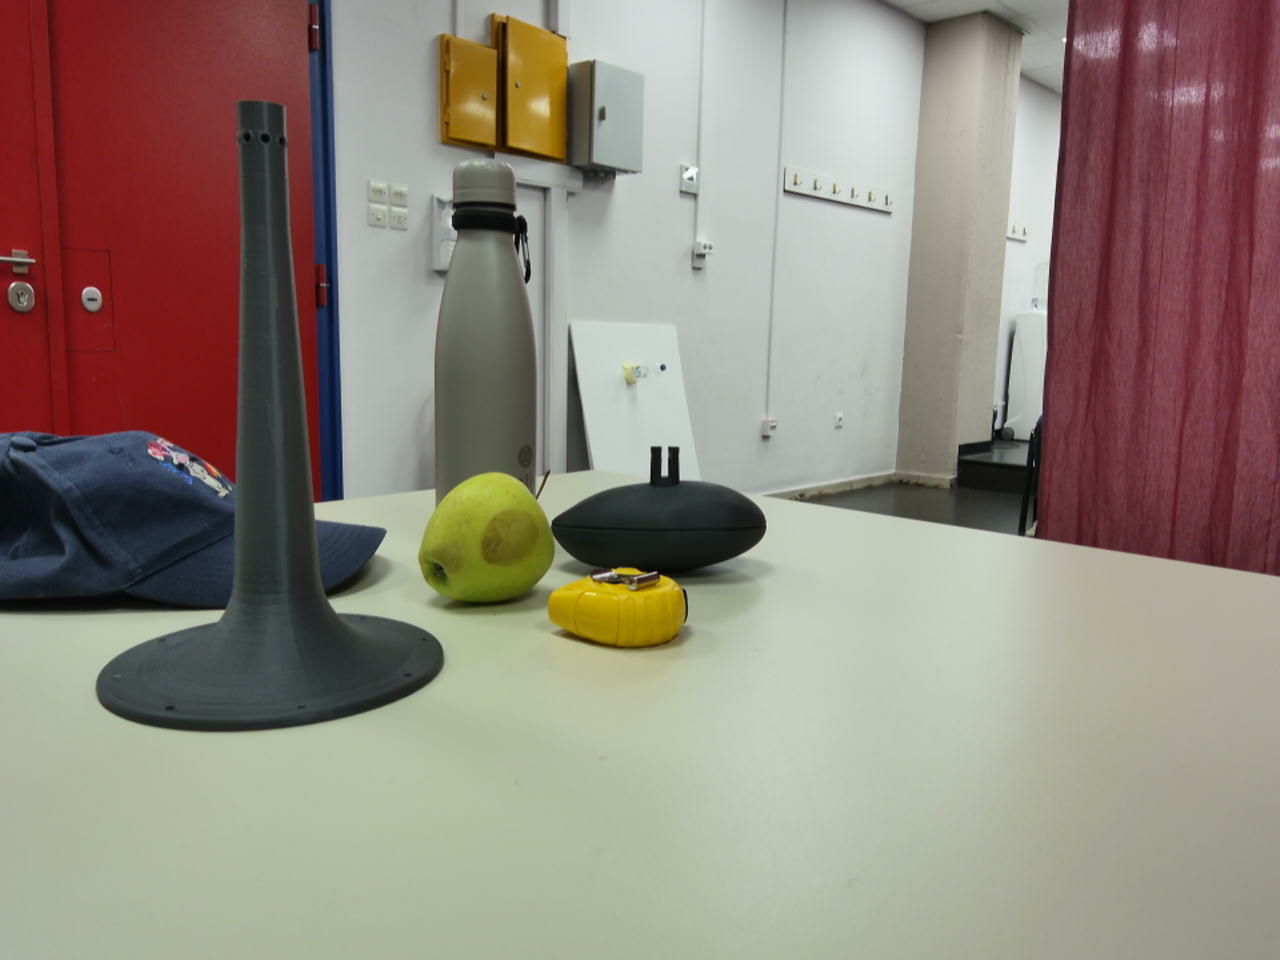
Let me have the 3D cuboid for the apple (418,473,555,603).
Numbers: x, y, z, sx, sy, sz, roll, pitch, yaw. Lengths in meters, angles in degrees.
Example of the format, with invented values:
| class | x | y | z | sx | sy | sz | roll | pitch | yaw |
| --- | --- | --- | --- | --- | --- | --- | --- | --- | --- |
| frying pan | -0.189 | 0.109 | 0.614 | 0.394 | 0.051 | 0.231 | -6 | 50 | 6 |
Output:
| class | x | y | z | sx | sy | sz | roll | pitch | yaw |
| --- | --- | --- | --- | --- | --- | --- | --- | --- | --- |
| apple | -0.092 | 0.034 | 0.600 | 0.077 | 0.075 | 0.072 | -1 | 7 | -4 |
